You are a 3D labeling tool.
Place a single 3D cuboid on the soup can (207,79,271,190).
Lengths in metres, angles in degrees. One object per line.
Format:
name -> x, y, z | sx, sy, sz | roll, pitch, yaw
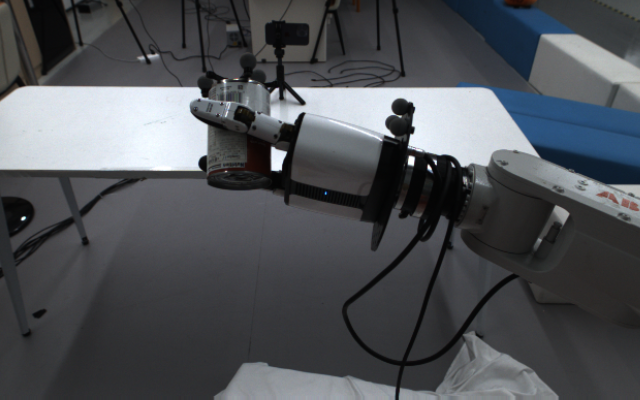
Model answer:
soup can -> -0.086, -0.068, 0.510 | 0.067, 0.067, 0.101 | 0, 76, -3
